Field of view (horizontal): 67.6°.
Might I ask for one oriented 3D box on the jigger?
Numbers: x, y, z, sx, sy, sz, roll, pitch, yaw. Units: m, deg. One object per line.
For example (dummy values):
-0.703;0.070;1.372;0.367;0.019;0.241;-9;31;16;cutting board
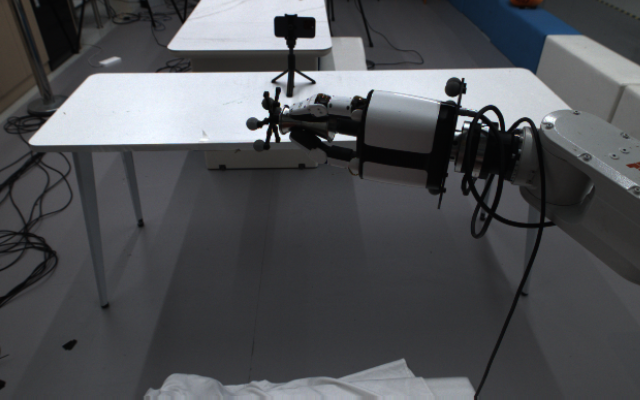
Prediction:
-0.010;-0.107;0.638;0.071;0.043;0.043;10;35;16;jigger
